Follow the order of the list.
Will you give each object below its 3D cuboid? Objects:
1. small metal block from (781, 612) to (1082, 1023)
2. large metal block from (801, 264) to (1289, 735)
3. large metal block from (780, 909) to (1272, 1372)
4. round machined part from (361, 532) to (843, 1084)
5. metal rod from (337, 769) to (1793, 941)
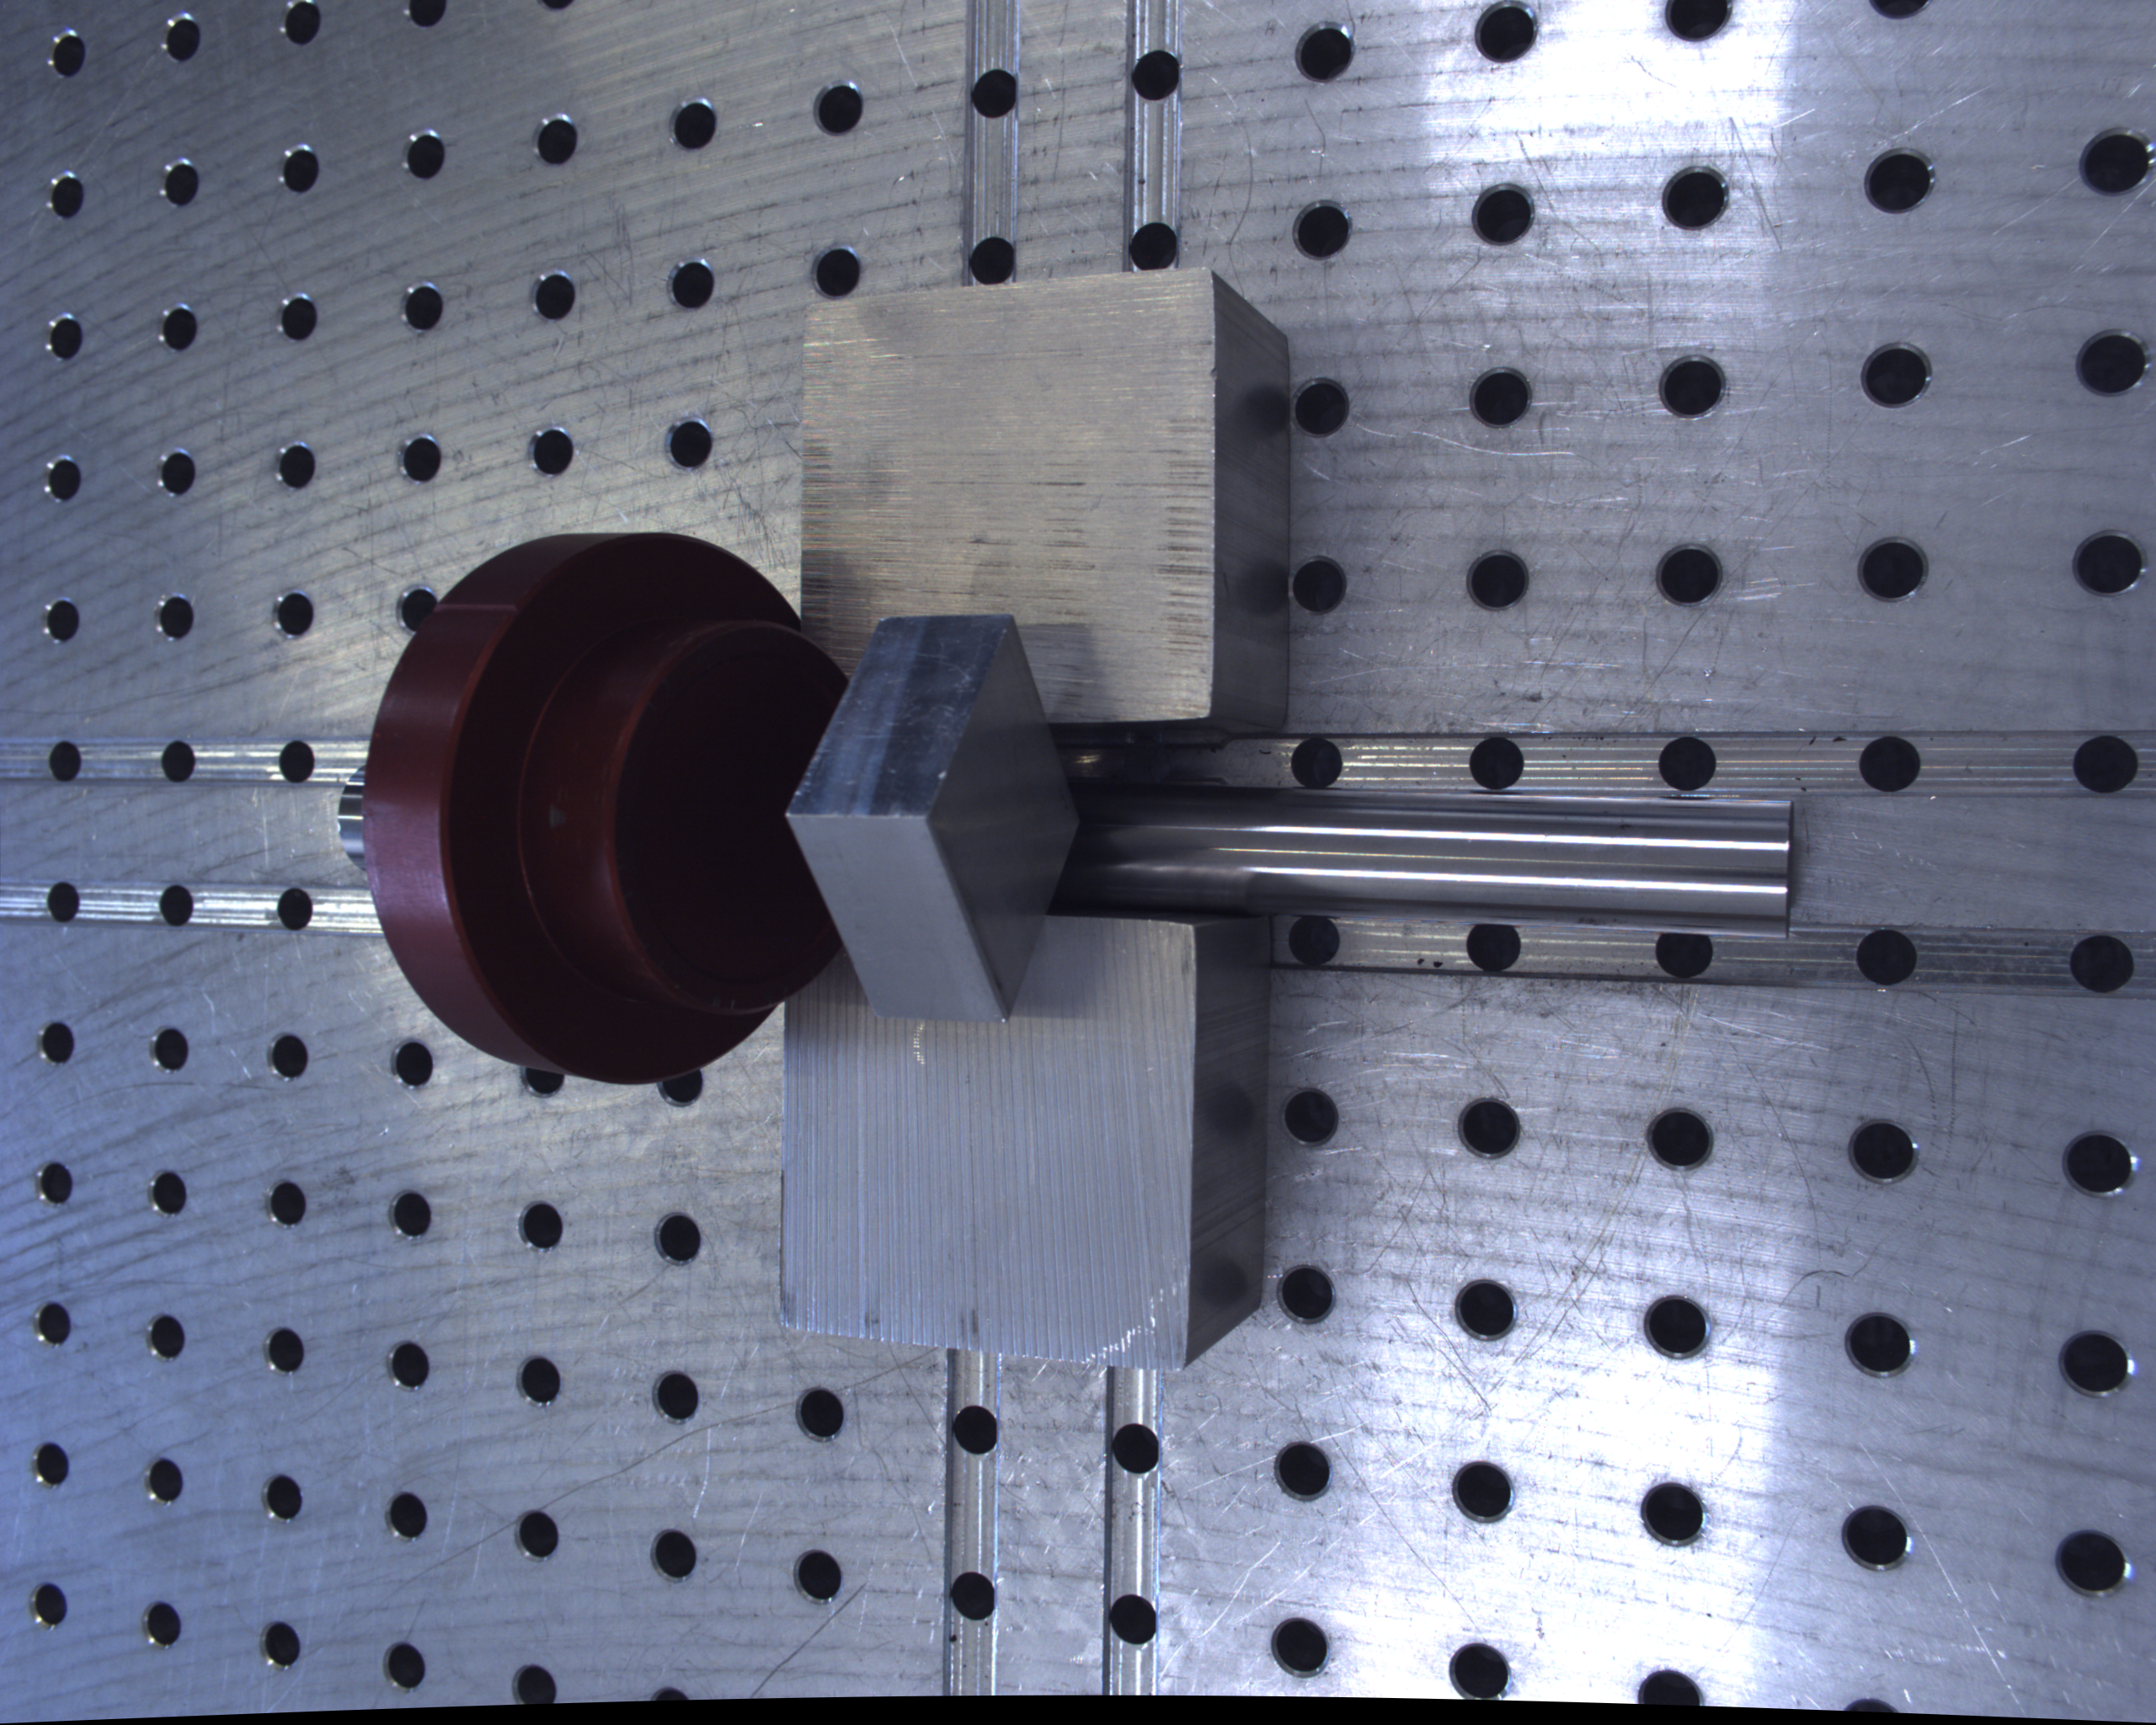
[{"bbox_3d":[-0.023,-0.008,0.361,0.025,0.050,0.050,1,46,20],"label":"small metal block"},{"bbox_3d":[-0.005,-0.065,0.401,0.080,0.050,0.079,1,90,20],"label":"large metal block"},{"bbox_3d":[-0.009,0.049,0.403,0.080,0.050,0.079,1,91,20],"label":"large metal block"},{"bbox_3d":[-0.072,-0.009,0.368,0.042,0.099,0.097,5,92,34],"label":"round machined part"},{"bbox_3d":[-0.016,-0.004,0.418,0.301,0.025,0.025,2,91,19],"label":"metal rod"}]
